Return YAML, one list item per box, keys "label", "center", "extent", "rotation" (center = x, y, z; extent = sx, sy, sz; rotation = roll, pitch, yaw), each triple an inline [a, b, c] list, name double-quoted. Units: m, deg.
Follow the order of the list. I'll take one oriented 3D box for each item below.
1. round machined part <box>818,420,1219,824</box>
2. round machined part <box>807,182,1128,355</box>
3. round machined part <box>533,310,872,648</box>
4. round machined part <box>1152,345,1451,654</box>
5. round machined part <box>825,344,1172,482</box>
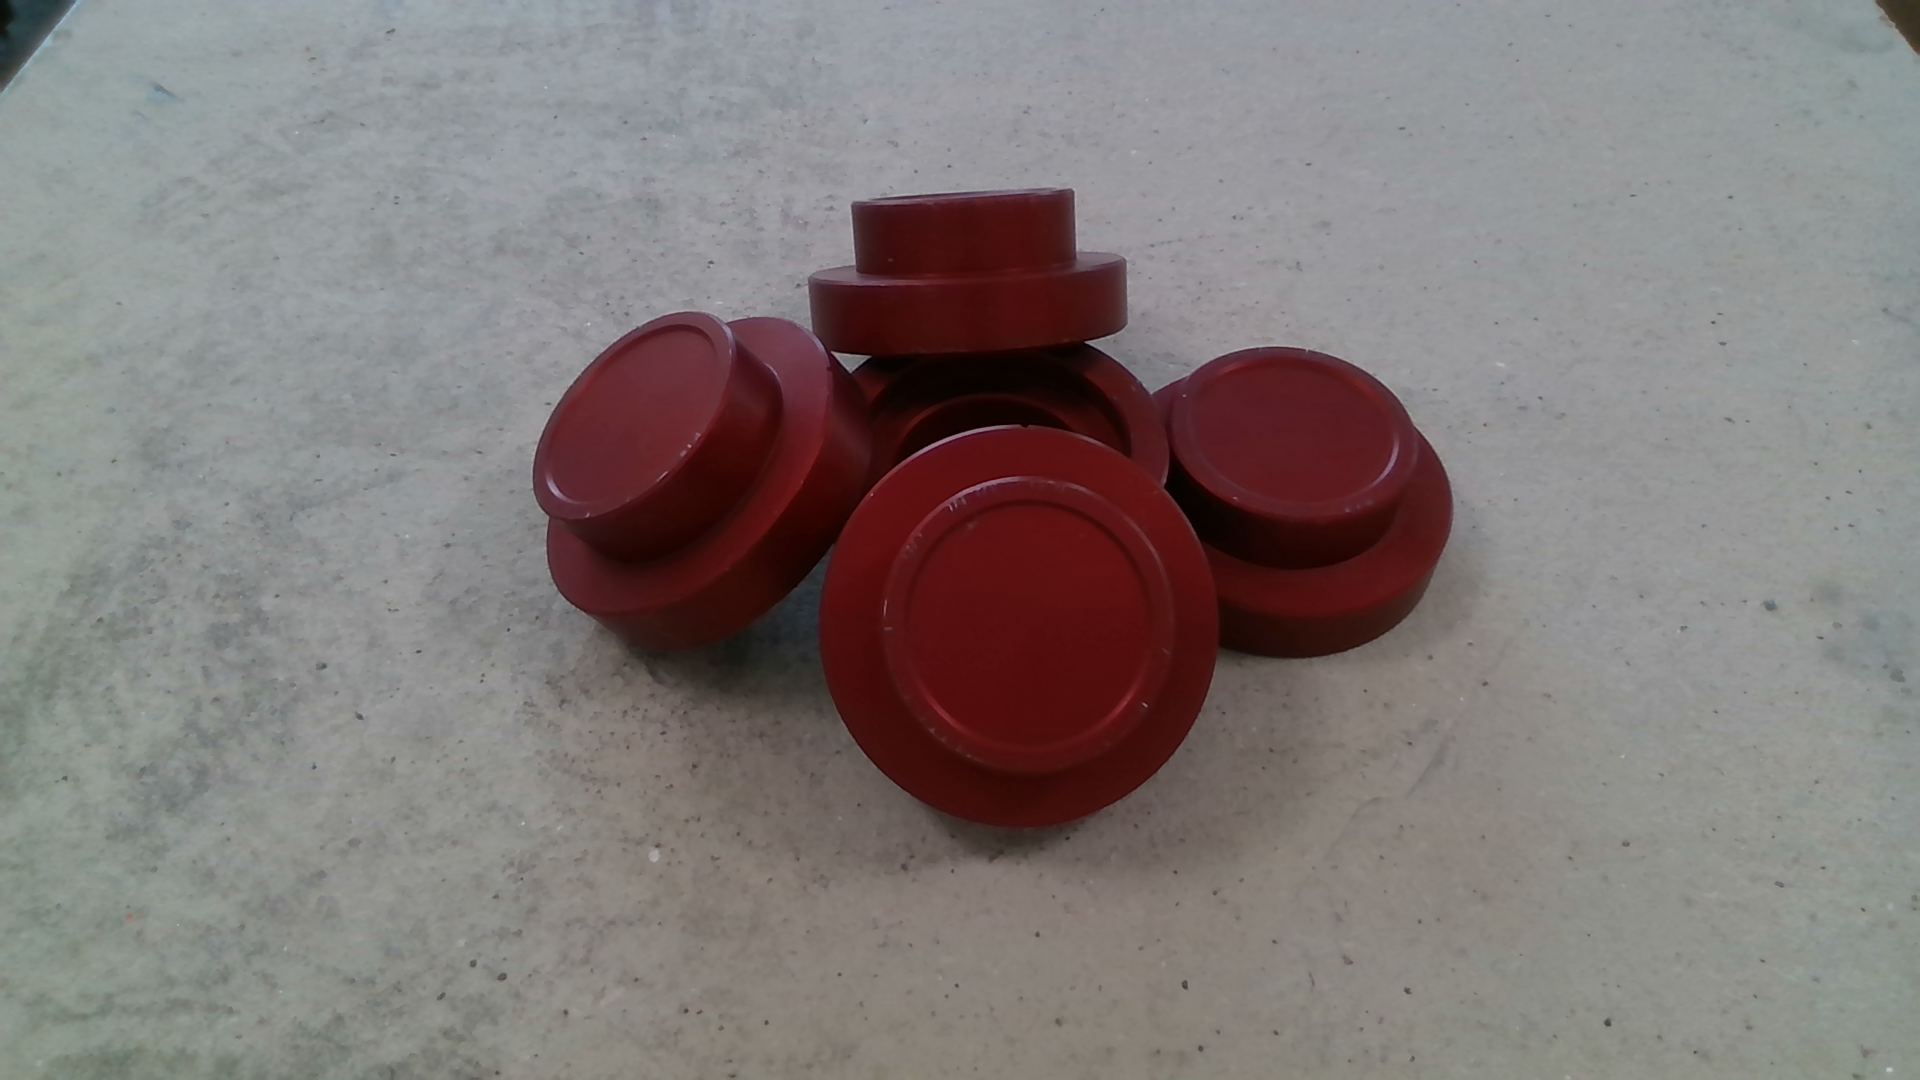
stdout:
- label: "round machined part"
  center: [0.015, 0.019, 0.333]
  extent: [0.098, 0.042, 0.098]
  rotation: [0, 86, -3]
- label: "round machined part"
  center: [0.002, -0.086, 0.423]
  extent: [0.098, 0.042, 0.098]
  rotation: [-4, 17, 1]
- label: "round machined part"
  center: [-0.076, -0.023, 0.374]
  extent: [0.098, 0.042, 0.098]
  rotation: [-19, 49, 24]
- label: "round machined part"
  center: [0.092, -0.019, 0.398]
  extent: [0.098, 0.042, 0.098]
  rotation: [1, 50, -1]
- label: "round machined part"
  center: [0.009, -0.015, 0.395]
  extent: [0.098, 0.042, 0.098]
  rotation: [1, 48, -1]
